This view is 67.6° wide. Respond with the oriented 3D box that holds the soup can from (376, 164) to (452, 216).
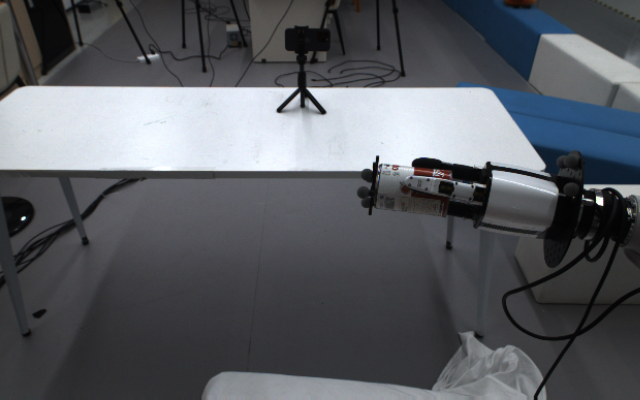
[{"bbox_3d":[0.134,-0.016,0.693,0.101,0.067,0.067,6,35,10],"label":"soup can"}]
